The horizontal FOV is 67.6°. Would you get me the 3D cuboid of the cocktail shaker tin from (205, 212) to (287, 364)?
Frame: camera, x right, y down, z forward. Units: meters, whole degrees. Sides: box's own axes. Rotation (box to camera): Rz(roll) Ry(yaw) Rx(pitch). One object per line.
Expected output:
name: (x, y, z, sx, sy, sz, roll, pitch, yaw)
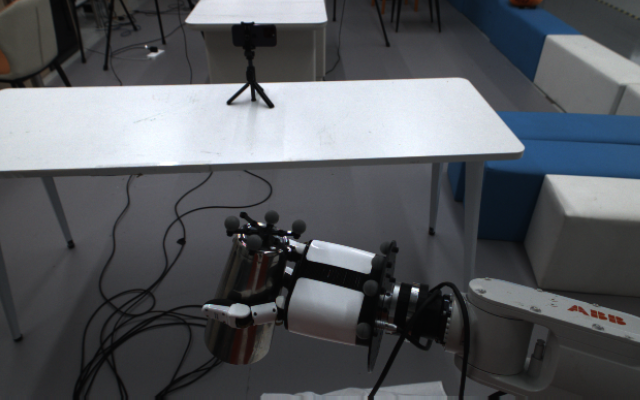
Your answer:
cocktail shaker tin: (-0.088, 0.114, 0.616, 0.093, 0.170, 0.093, 12, 29, -7)
